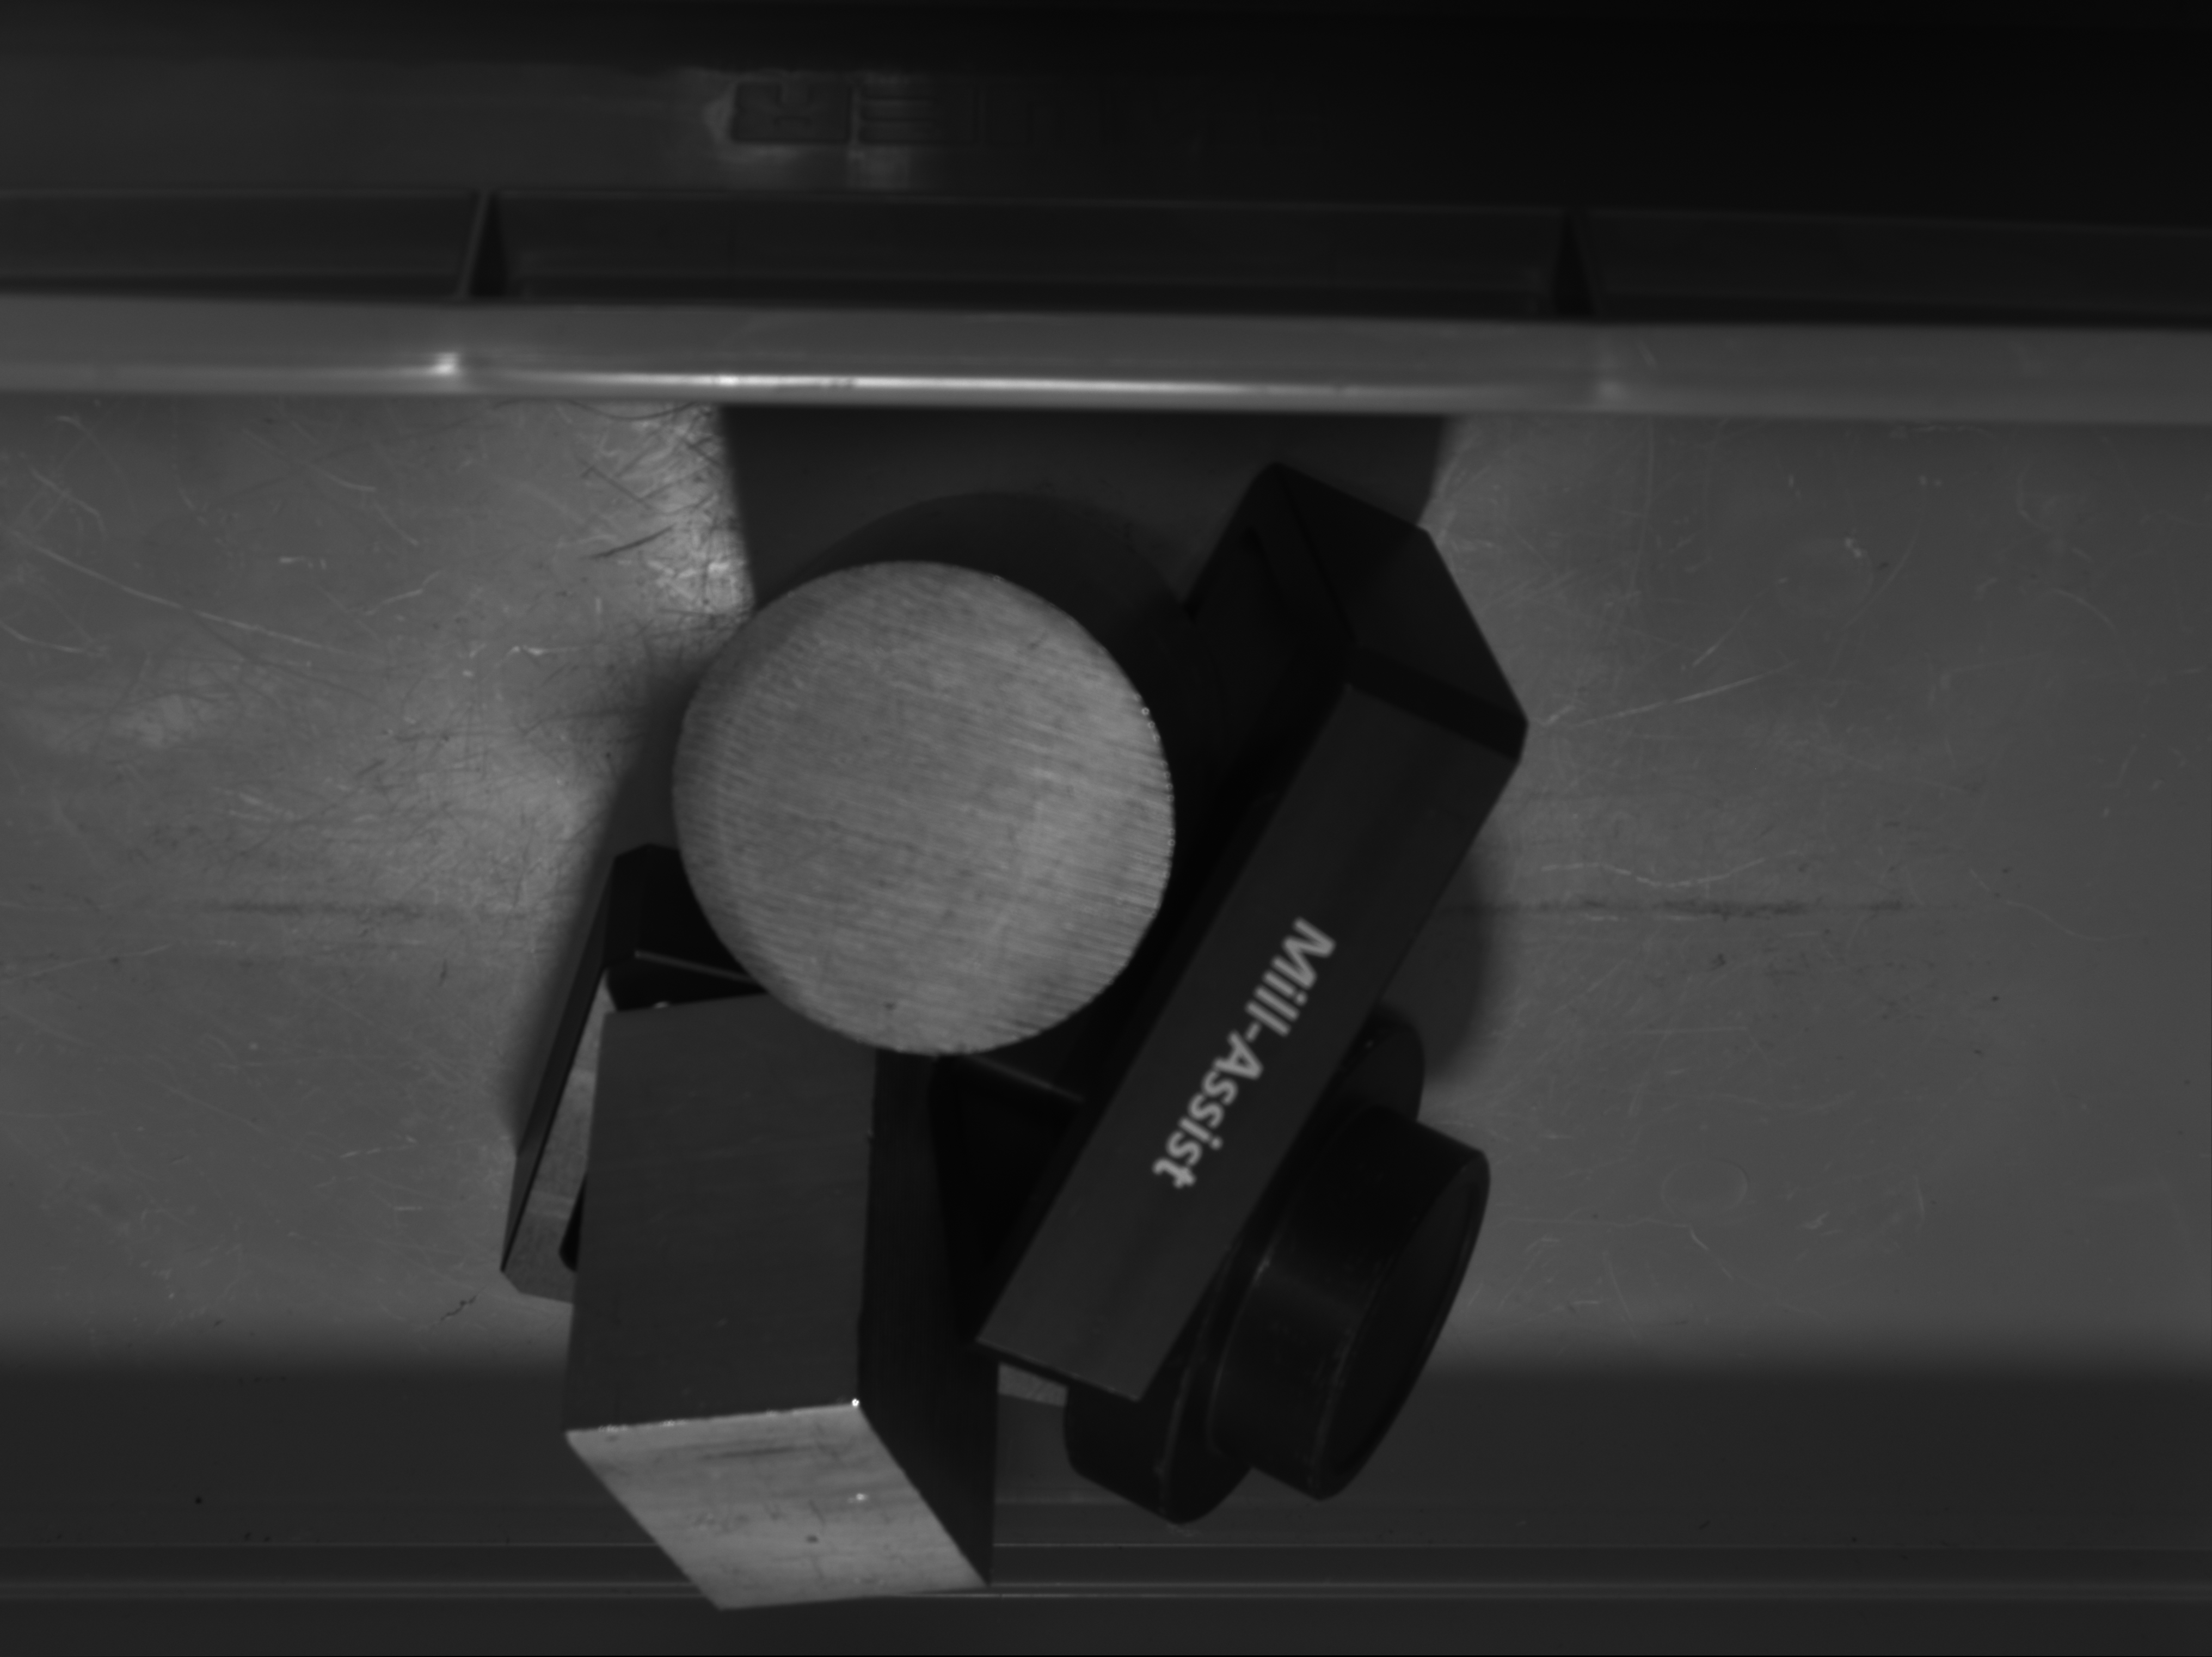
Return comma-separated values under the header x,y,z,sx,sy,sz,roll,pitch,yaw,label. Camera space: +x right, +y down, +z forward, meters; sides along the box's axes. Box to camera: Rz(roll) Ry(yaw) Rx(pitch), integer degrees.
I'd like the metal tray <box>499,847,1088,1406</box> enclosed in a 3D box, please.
x,y,z,sx,sy,sz,roll,pitch,yaw,label
-0.039,0.059,0.681,0.130,0.030,0.090,14,128,-13,metal tray

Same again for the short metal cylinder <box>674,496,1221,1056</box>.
x,y,z,sx,sy,sz,roll,pitch,yaw,label
-0.024,-0.009,0.593,0.080,0.050,0.080,3,107,9,short metal cylinder

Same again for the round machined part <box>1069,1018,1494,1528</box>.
x,y,z,sx,sy,sz,roll,pitch,yaw,label
0.036,0.081,0.654,0.042,0.098,0.098,24,132,18,round machined part

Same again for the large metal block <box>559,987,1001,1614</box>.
x,y,z,sx,sy,sz,roll,pitch,yaw,label
-0.053,0.082,0.638,0.050,0.080,0.080,-7,146,12,large metal block

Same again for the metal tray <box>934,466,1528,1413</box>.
x,y,z,sx,sy,sz,roll,pitch,yaw,label
0.016,0.016,0.589,0.030,0.090,0.130,23,110,-16,metal tray
